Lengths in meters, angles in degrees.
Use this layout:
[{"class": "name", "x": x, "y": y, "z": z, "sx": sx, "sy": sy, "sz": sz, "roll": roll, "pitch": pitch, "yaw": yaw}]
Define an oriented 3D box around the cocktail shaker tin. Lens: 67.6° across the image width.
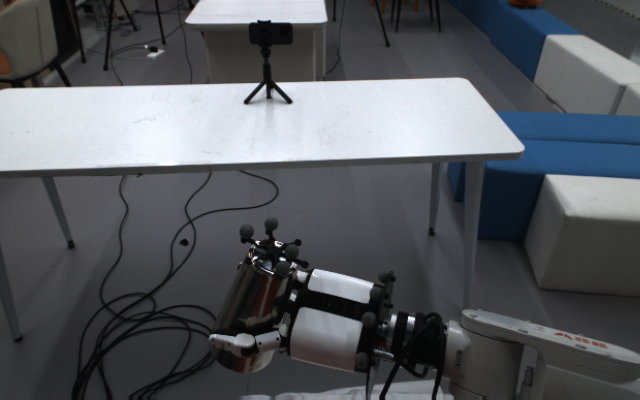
[{"class": "cocktail shaker tin", "x": -0.083, "y": 0.133, "z": 0.632, "sx": 0.093, "sy": 0.170, "sz": 0.093, "roll": 16, "pitch": 31, "yaw": -10}]
